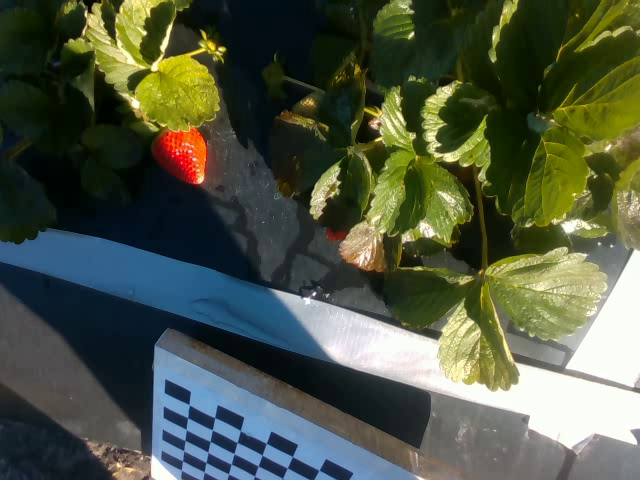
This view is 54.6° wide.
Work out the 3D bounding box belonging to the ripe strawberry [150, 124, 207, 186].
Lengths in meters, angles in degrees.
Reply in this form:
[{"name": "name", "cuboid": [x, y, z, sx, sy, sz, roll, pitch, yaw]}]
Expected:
[{"name": "ripe strawberry", "cuboid": [-0.107, -0.064, 0.478, 0.045, 0.059, 0.042, -34, 0, 44]}]
